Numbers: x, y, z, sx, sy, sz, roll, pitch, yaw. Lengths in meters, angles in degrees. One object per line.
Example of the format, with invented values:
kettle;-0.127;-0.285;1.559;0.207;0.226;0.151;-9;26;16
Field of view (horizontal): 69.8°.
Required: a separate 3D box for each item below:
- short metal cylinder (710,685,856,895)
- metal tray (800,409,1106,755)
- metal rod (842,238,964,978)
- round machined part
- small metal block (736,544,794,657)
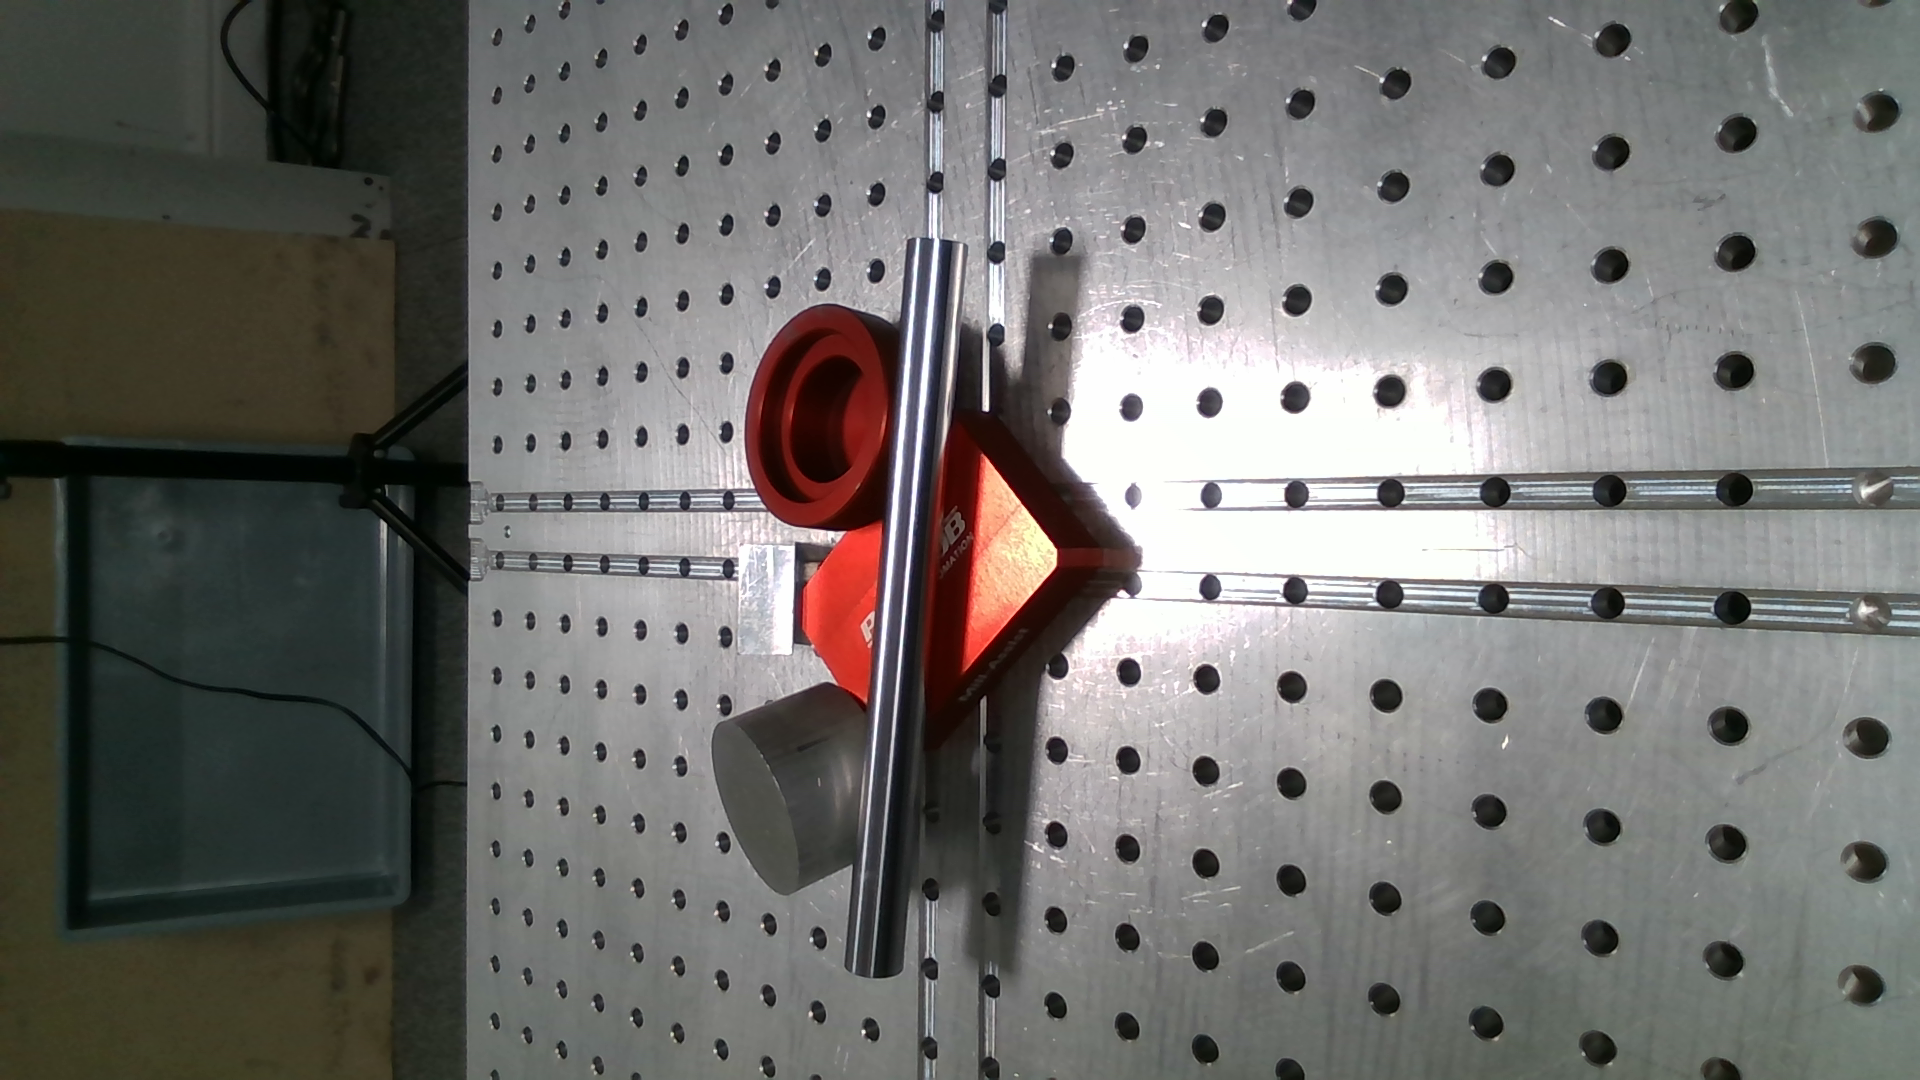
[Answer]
short metal cylinder;-0.070;0.109;0.609;0.080;0.050;0.080;37;137;45
metal tray;-0.008;0.020;0.590;0.130;0.030;0.090;-51;60;28
metal rod;-0.024;0.030;0.565;0.025;0.025;0.300;9;97;40
round machined part;-0.050;-0.053;0.609;0.098;0.042;0.098;-7;80;46
small metal block;-0.091;0.027;0.644;0.050;0.025;0.050;-160;71;-83
